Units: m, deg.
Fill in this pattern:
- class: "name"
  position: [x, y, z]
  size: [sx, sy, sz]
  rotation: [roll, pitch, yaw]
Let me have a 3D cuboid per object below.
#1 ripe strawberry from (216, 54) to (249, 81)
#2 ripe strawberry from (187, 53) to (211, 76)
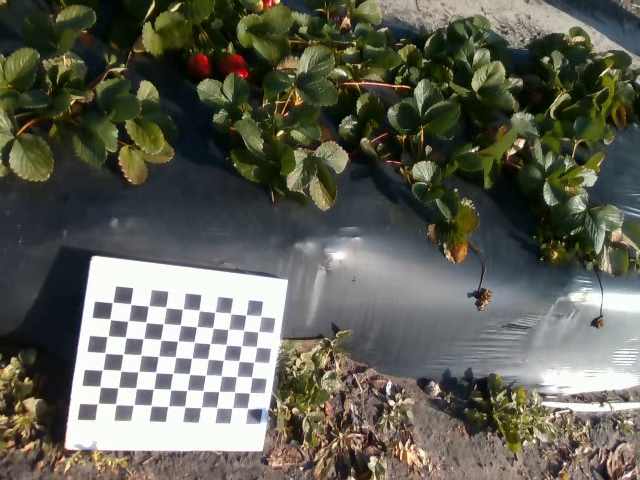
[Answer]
- class: "ripe strawberry"
  position: [-0.135, -0.275, 0.981]
  size: [0.052, 0.058, 0.046]
  rotation: [-28, -37, -13]
- class: "ripe strawberry"
  position: [-0.185, -0.272, 0.955]
  size: [0.043, 0.052, 0.037]
  rotation: [-37, -32, -11]
